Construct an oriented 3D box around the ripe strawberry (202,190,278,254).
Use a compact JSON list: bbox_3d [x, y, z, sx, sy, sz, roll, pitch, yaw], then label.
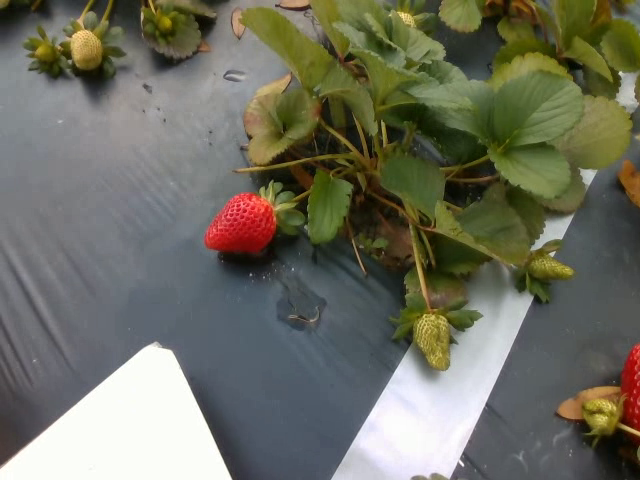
[{"bbox_3d":[-0.042,-0.008,0.345,0.046,0.040,0.036,-18,38,-31],"label":"ripe strawberry"}]
